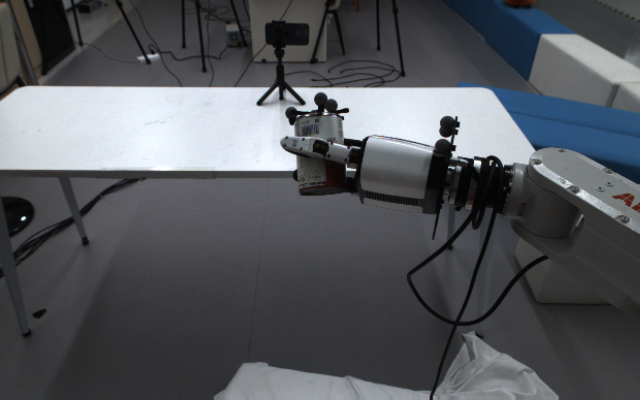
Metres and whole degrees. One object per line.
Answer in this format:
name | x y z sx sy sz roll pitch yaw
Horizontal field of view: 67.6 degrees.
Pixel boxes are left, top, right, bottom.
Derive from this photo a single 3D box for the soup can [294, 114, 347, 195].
soup can | 0.002 -0.060 0.654 0.067 0.101 0.067 -5 -5 0
